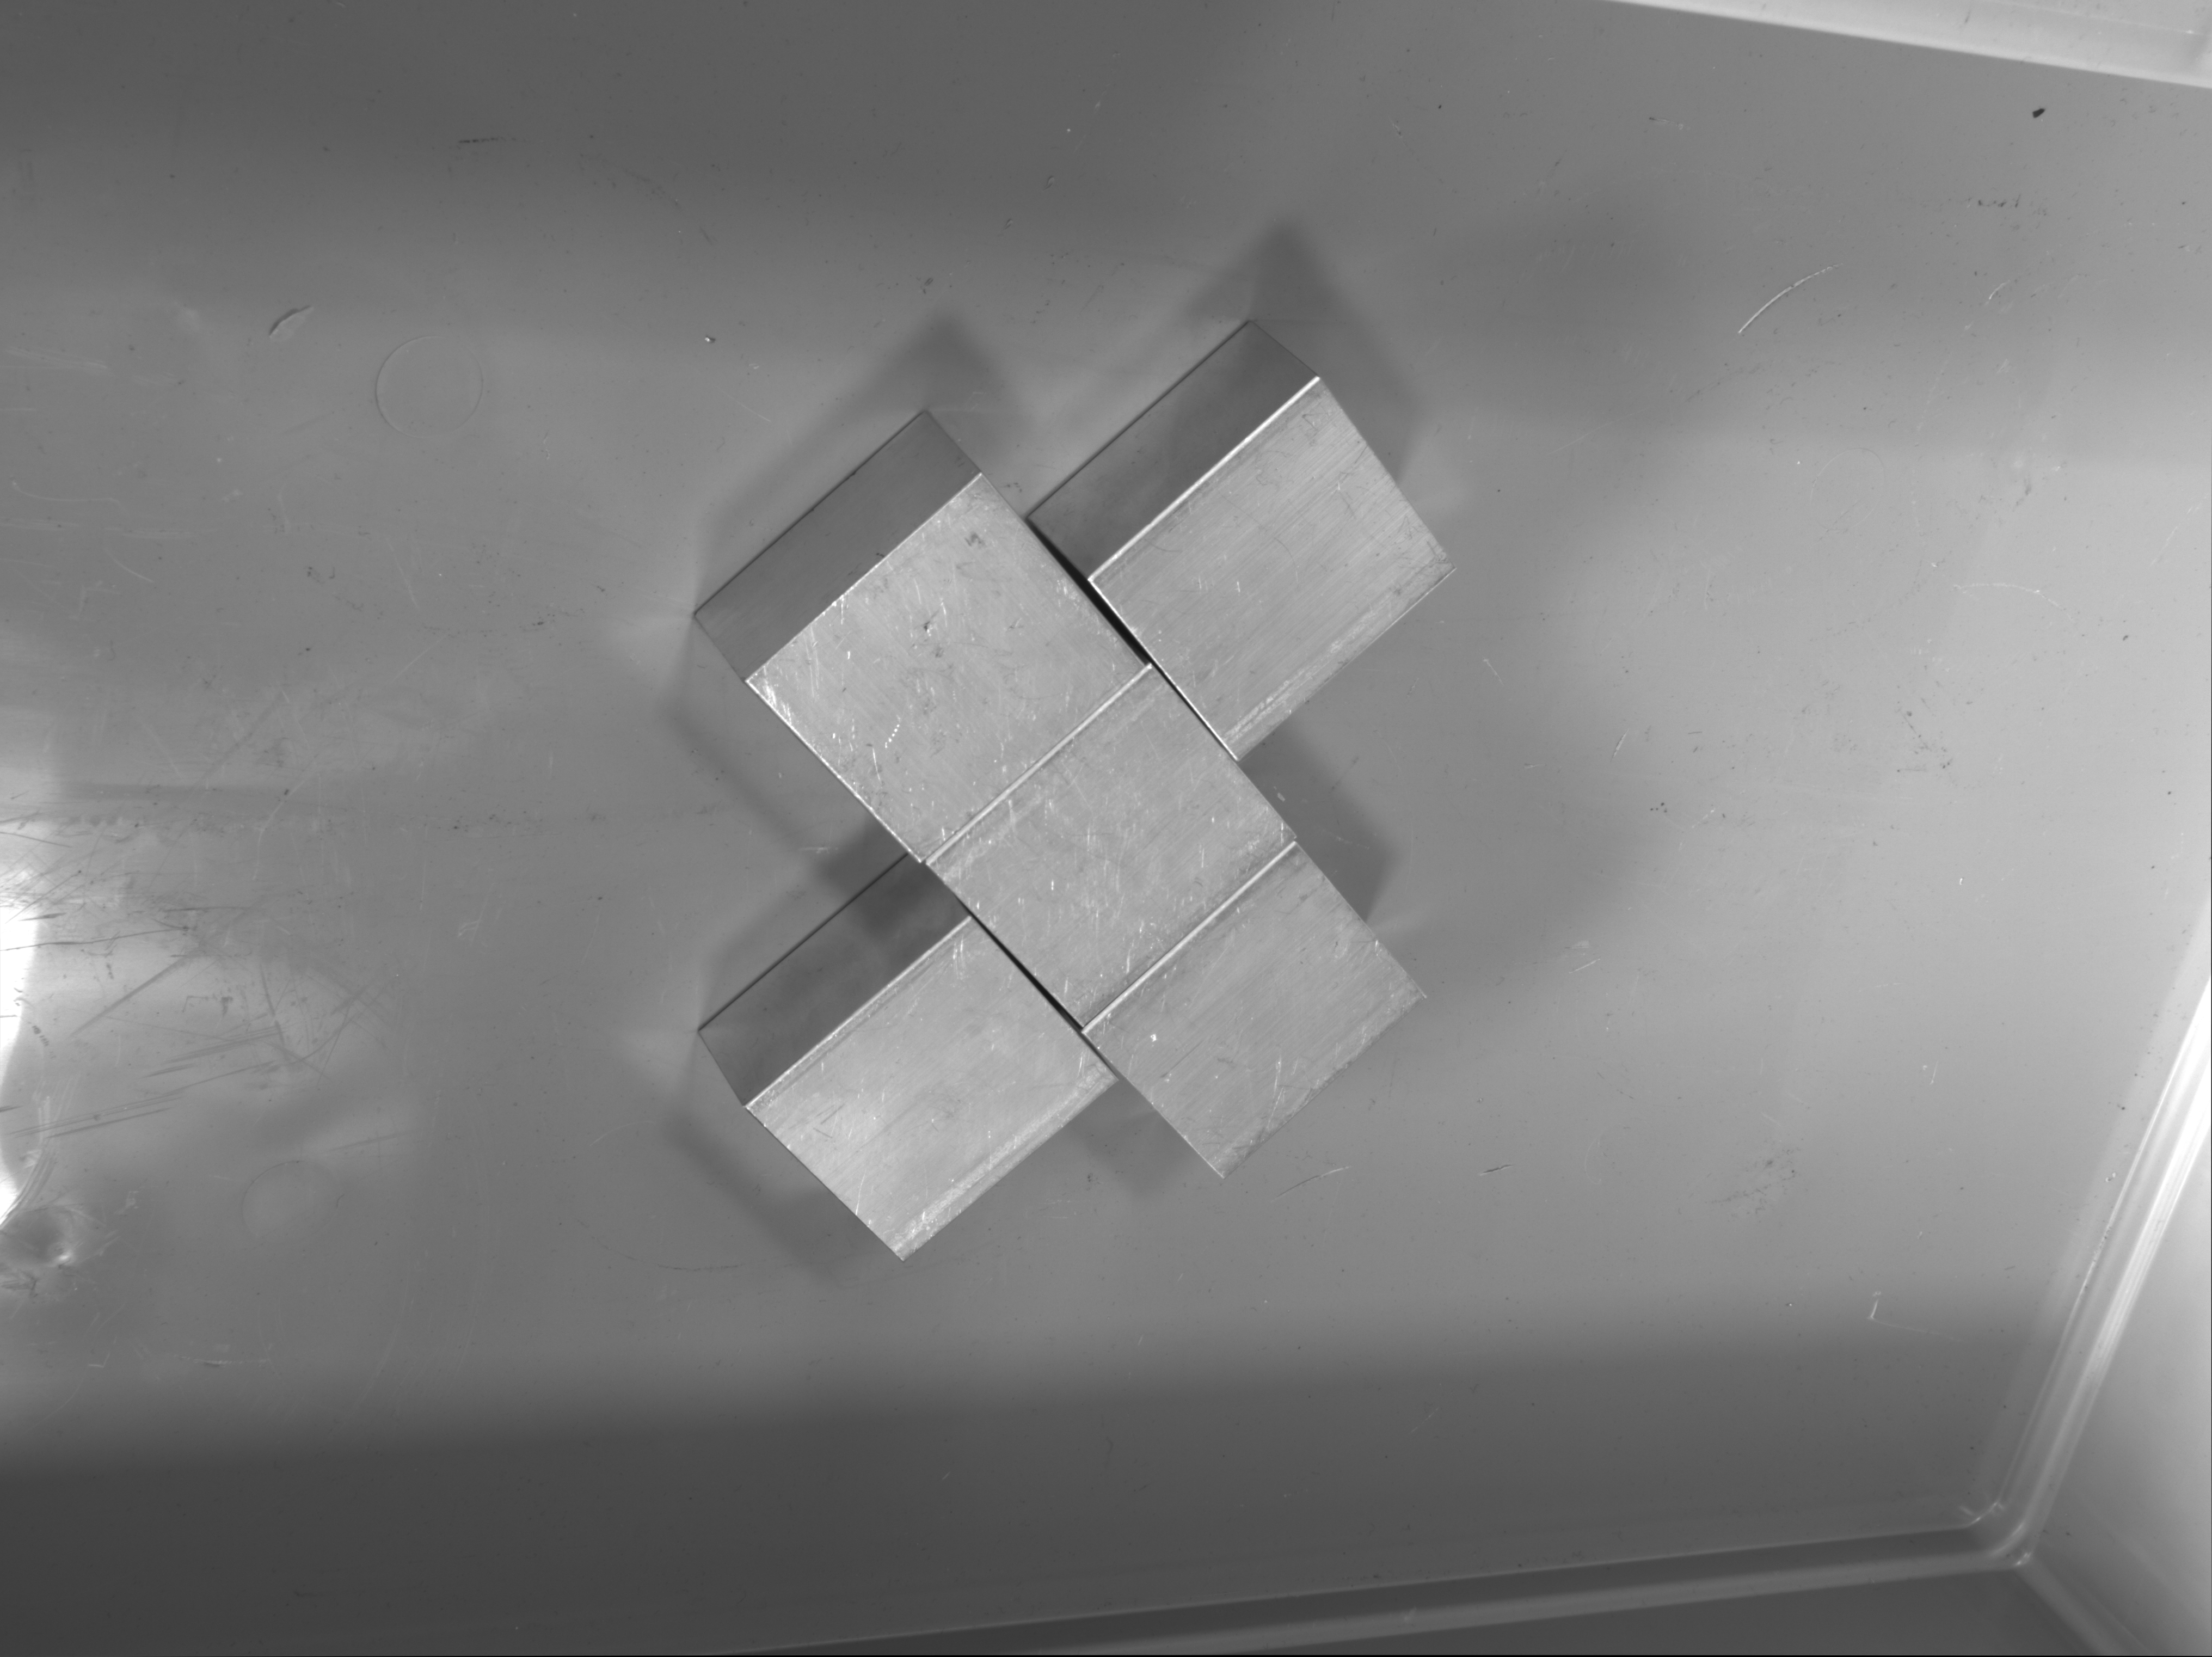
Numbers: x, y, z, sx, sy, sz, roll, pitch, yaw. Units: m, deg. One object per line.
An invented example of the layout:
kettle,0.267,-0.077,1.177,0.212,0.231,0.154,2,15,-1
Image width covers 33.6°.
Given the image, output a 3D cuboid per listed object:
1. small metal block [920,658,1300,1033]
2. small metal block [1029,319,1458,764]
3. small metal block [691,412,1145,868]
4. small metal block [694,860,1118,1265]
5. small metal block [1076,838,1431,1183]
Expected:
small metal block,-0.003,-0.002,0.631,0.050,0.025,0.050,-42,129,0
small metal block,0.023,-0.048,0.618,0.050,0.025,0.050,-42,129,-1
small metal block,-0.030,-0.031,0.600,0.050,0.025,0.050,-42,129,0
small metal block,-0.035,0.040,0.641,0.050,0.025,0.050,-40,129,0
small metal block,0.023,0.028,0.664,0.050,0.025,0.050,-42,129,0
